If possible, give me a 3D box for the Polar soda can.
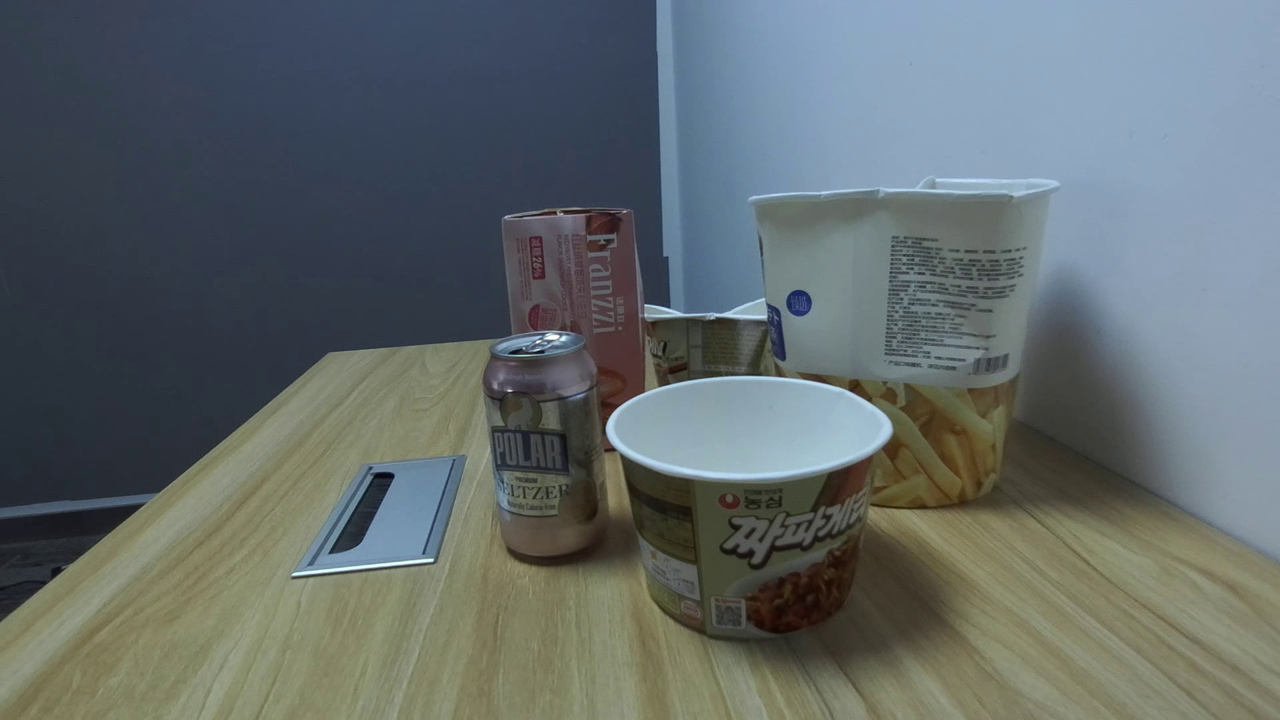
[{"bbox_3d":[-0.055,0.050,0.422,0.067,0.125,0.067,-3,15,1],"label":"Polar soda can"}]

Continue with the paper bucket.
[{"bbox_3d":[0.182,-0.023,0.492,0.168,0.202,0.163,9,19,30],"label":"paper bucket"}]

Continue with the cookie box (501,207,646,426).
[{"bbox_3d":[-0.046,-0.023,0.552,0.105,0.187,0.049,-5,12,-6],"label":"cookie box"}]

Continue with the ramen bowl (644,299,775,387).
[{"bbox_3d":[0.060,-0.007,0.649,0.128,0.093,0.111,1,18,10],"label":"ramen bowl"}]

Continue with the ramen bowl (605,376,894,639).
[{"bbox_3d":[0.055,0.073,0.368,0.140,0.095,0.140,-3,15,1],"label":"ramen bowl"}]
